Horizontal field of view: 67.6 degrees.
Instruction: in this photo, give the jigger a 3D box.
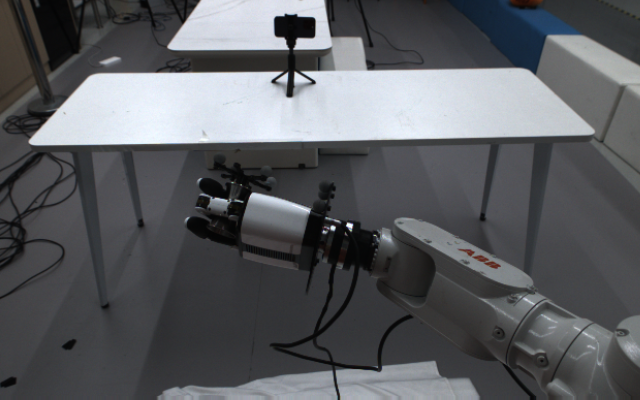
[{"bbox_3d":[-0.121,0.015,0.671,0.043,0.043,0.071,12,71,14],"label":"jigger"}]
